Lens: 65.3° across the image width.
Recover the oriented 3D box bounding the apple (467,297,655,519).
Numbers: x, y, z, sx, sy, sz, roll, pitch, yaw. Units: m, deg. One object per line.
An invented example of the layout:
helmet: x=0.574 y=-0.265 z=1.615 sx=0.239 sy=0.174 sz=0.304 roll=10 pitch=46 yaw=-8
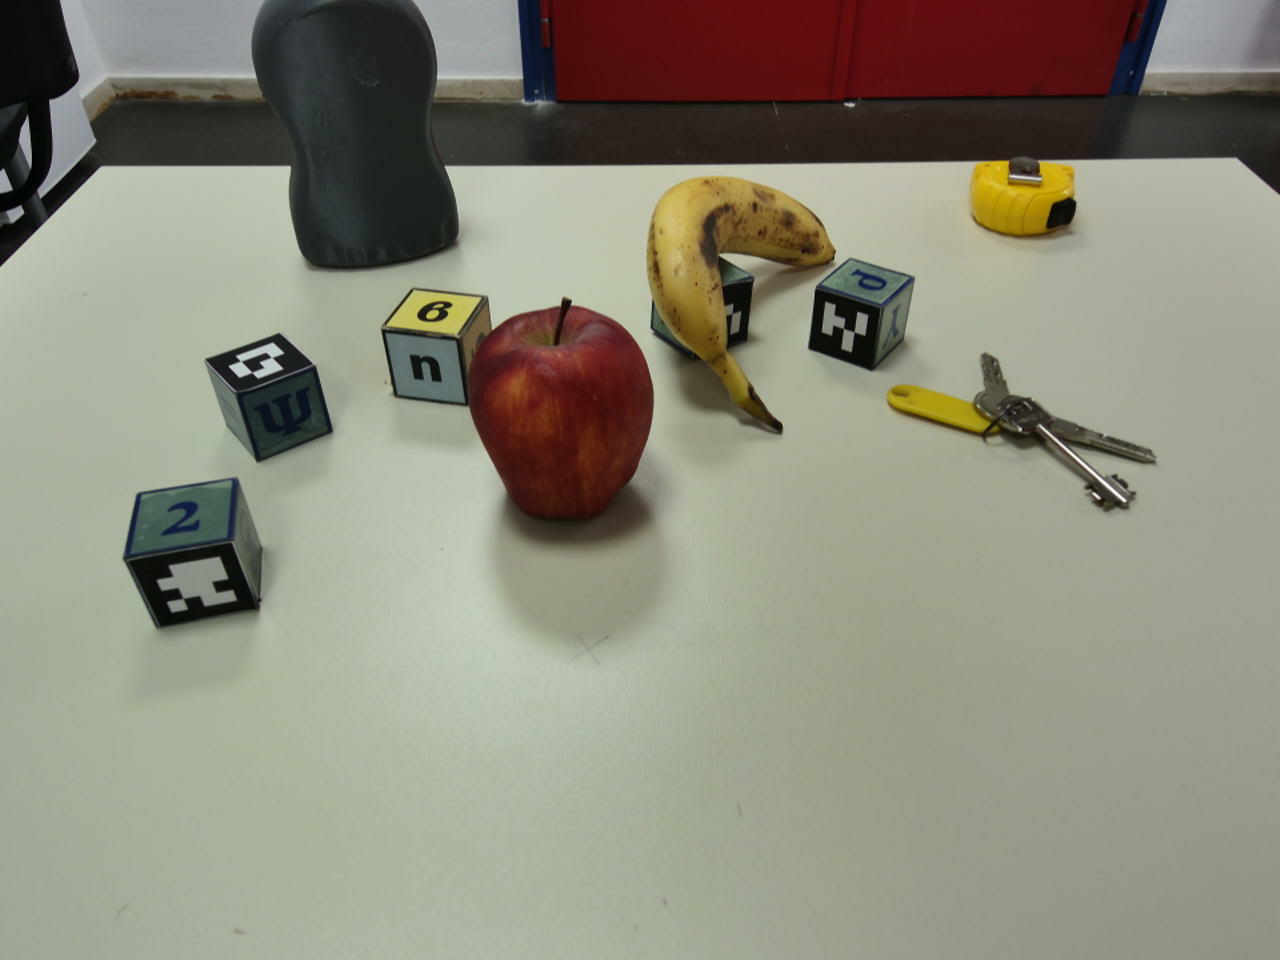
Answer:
apple: x=-0.034 y=-0.034 z=0.415 sx=0.083 sy=0.090 sz=0.083 roll=0 pitch=38 yaw=0
